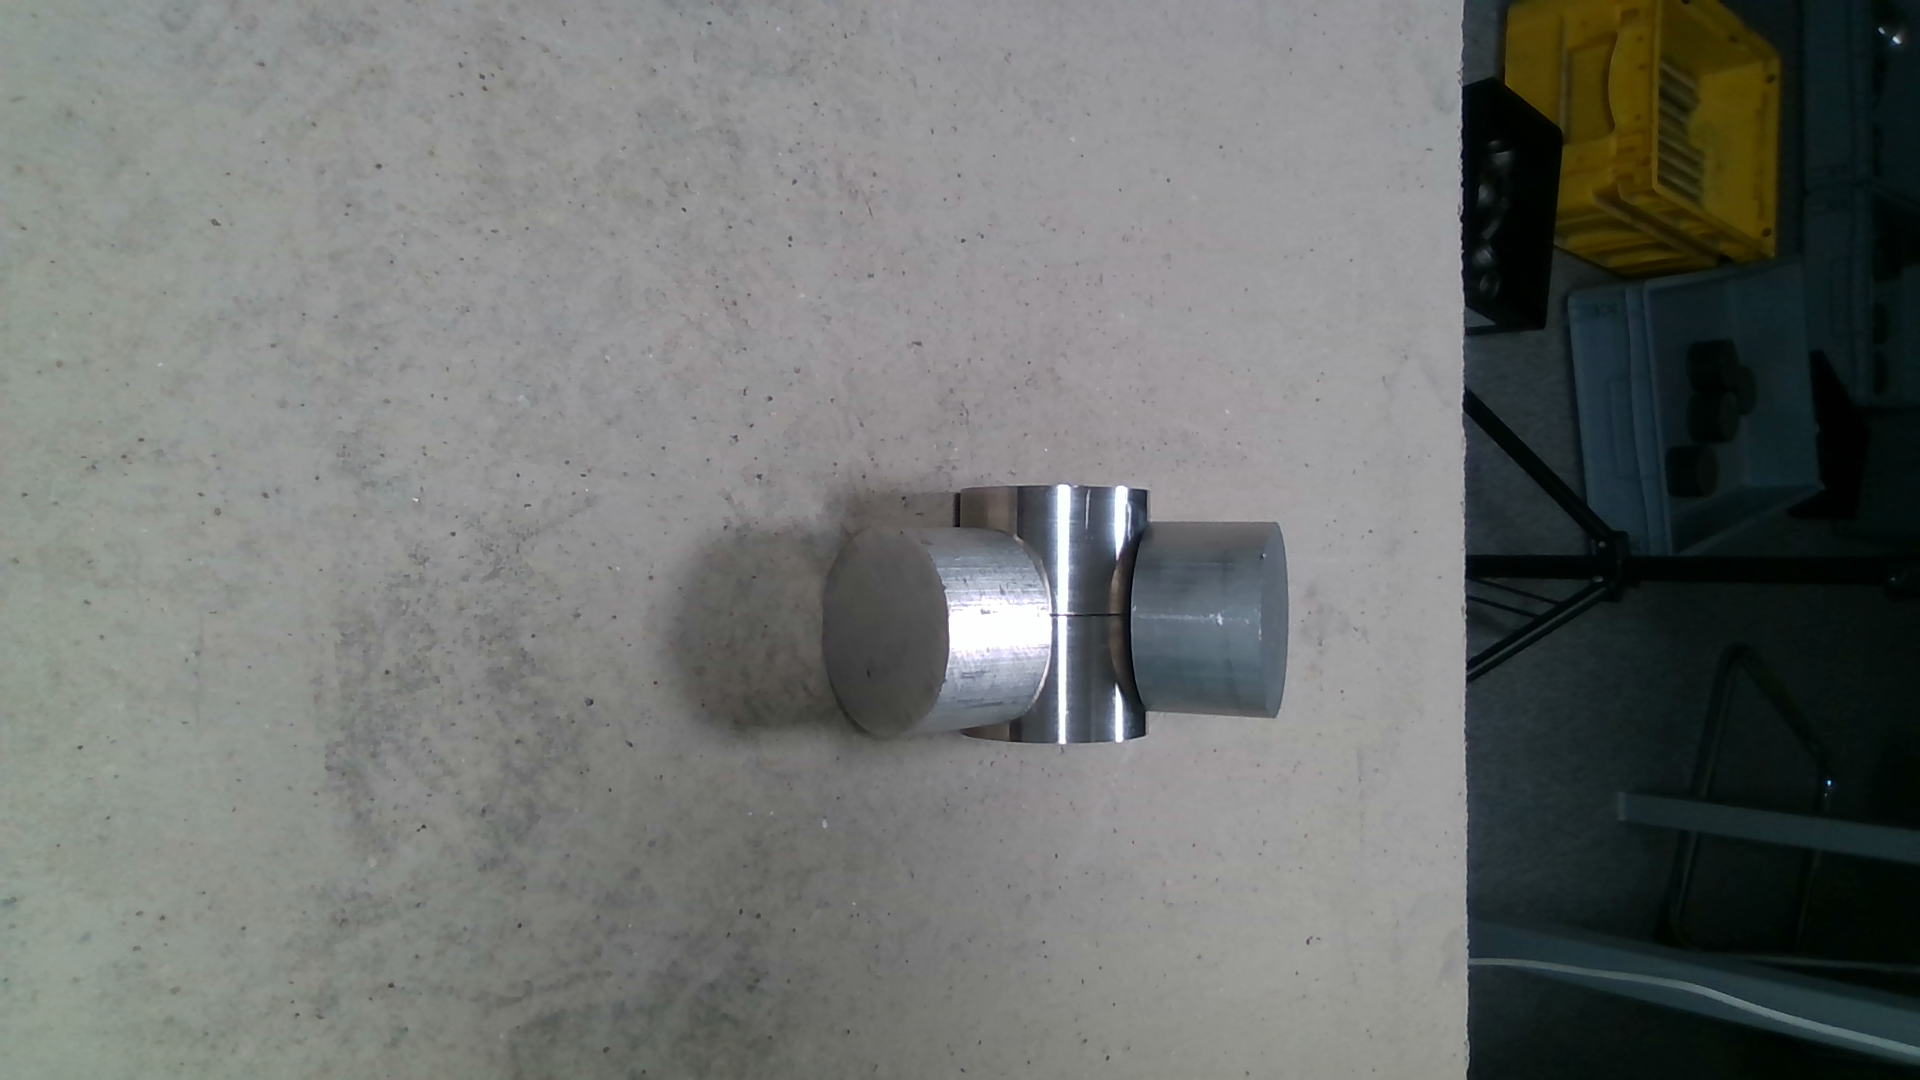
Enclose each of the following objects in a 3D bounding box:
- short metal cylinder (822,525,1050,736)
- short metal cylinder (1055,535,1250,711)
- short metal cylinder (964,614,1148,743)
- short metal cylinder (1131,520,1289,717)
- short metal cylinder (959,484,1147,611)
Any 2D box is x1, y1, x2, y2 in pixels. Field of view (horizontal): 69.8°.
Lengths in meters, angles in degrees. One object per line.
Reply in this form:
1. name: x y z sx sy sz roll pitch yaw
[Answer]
1. short metal cylinder: -0.011 0.034 0.539 0.050 0.080 0.080 0 90 -40
2. short metal cylinder: 0.091 0.038 0.645 0.080 0.050 0.080 0 90 -40
3. short metal cylinder: 0.040 0.055 0.580 0.080 0.080 0.050 0 89 -40
4. short metal cylinder: 0.105 0.032 0.569 0.080 0.050 0.080 1 89 -69
5. short metal cylinder: 0.039 0.003 0.581 0.080 0.080 0.050 1 89 -40
